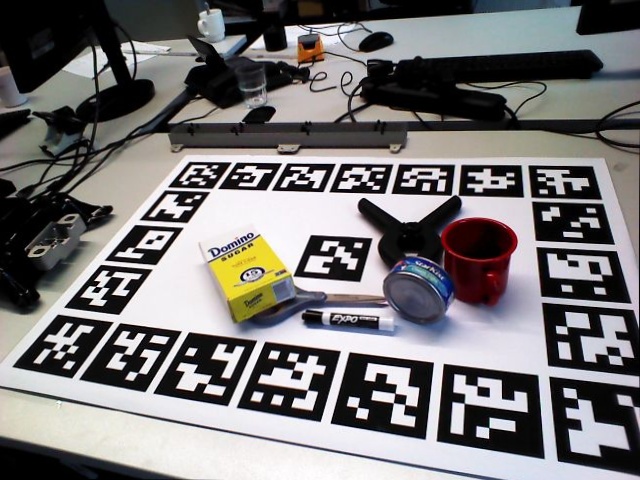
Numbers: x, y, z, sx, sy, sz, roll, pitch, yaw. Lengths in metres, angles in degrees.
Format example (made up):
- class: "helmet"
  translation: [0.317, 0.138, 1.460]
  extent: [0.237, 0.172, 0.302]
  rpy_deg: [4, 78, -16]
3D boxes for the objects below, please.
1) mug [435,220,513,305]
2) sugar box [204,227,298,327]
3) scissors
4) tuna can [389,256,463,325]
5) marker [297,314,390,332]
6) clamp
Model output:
- class: "mug"
  translation: [0.202, 0.037, 0.665]
  extent: [0.093, 0.081, 0.117]
  rpy_deg: [-14, 35, -5]
- class: "sugar box"
  translation: [-0.104, 0.044, 0.747]
  extent: [0.093, 0.045, 0.176]
  rpy_deg: [-21, 33, -12]
- class: "scissors"
  translation: [-0.005, 0.076, 0.709]
  extent: [0.203, 0.016, 0.087]
  rpy_deg: [-3, 35, 8]
- class: "tuna can"
  translation: [0.130, 0.064, 0.641]
  extent: [0.086, 0.086, 0.033]
  rpy_deg: [15, 45, 30]
- class: "marker"
  translation: [0.029, 0.106, 0.667]
  extent: [0.122, 0.020, 0.019]
  rpy_deg: [0, 41, 15]
- class: "clamp"
  translation: [0.142, -0.002, 0.776]
  extent: [0.166, 0.037, 0.201]
  rpy_deg: [-4, 40, 9]
